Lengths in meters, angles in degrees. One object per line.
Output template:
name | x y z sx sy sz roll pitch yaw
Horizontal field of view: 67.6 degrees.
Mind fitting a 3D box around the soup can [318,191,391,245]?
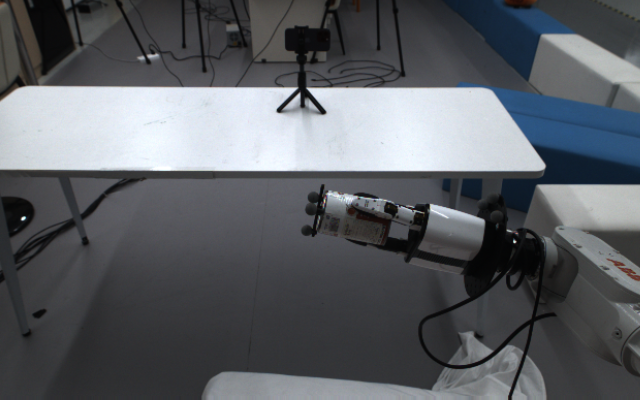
soup can | 0.053 0.027 0.726 0.101 0.067 0.067 11 35 -2
